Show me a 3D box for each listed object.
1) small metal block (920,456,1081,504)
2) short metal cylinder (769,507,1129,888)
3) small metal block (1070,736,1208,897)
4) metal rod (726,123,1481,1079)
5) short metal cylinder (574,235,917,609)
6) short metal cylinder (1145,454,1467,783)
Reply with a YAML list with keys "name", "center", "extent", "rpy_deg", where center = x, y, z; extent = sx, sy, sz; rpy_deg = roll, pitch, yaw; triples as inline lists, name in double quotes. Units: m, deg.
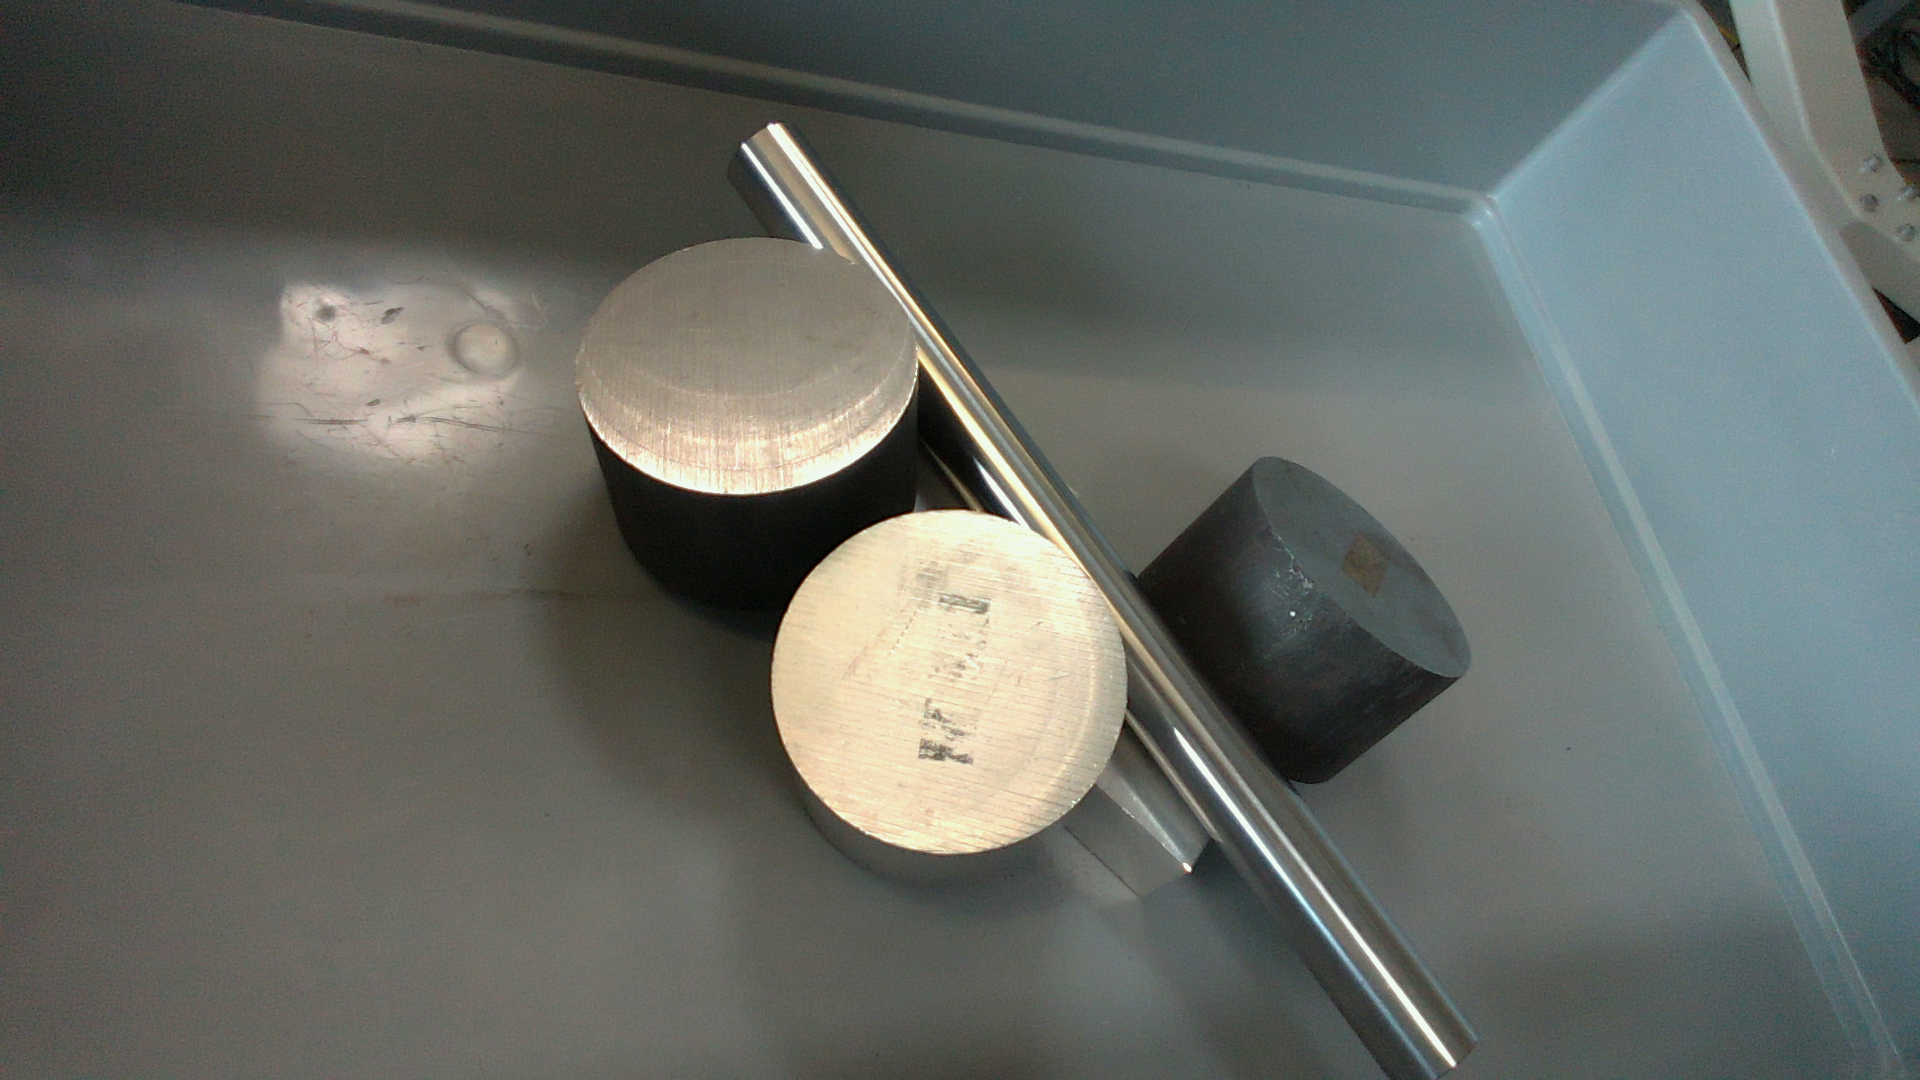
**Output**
- name: "small metal block"
  center: [-0.001, -0.008, 0.393]
  extent: [0.050, 0.025, 0.050]
  rpy_deg: [40, 51, -1]
- name: "short metal cylinder"
  center: [-0.003, 0.039, 0.329]
  extent: [0.080, 0.050, 0.080]
  rpy_deg: [1, 68, -3]
- name: "small metal block"
  center: [0.049, 0.060, 0.378]
  extent: [0.050, 0.025, 0.050]
  rpy_deg: [42, 51, 1]
- name: "metal rod"
  center: [0.031, 0.009, 0.366]
  extent: [0.025, 0.025, 0.300]
  rpy_deg: [-28, 77, -37]
- name: "short metal cylinder"
  center: [-0.051, -0.030, 0.345]
  extent: [0.080, 0.050, 0.080]
  rpy_deg: [1, 56, -2]
- name: "short metal cylinder"
  center: [0.097, 0.022, 0.394]
  extent: [0.080, 0.050, 0.080]
  rpy_deg: [32, 29, -20]
